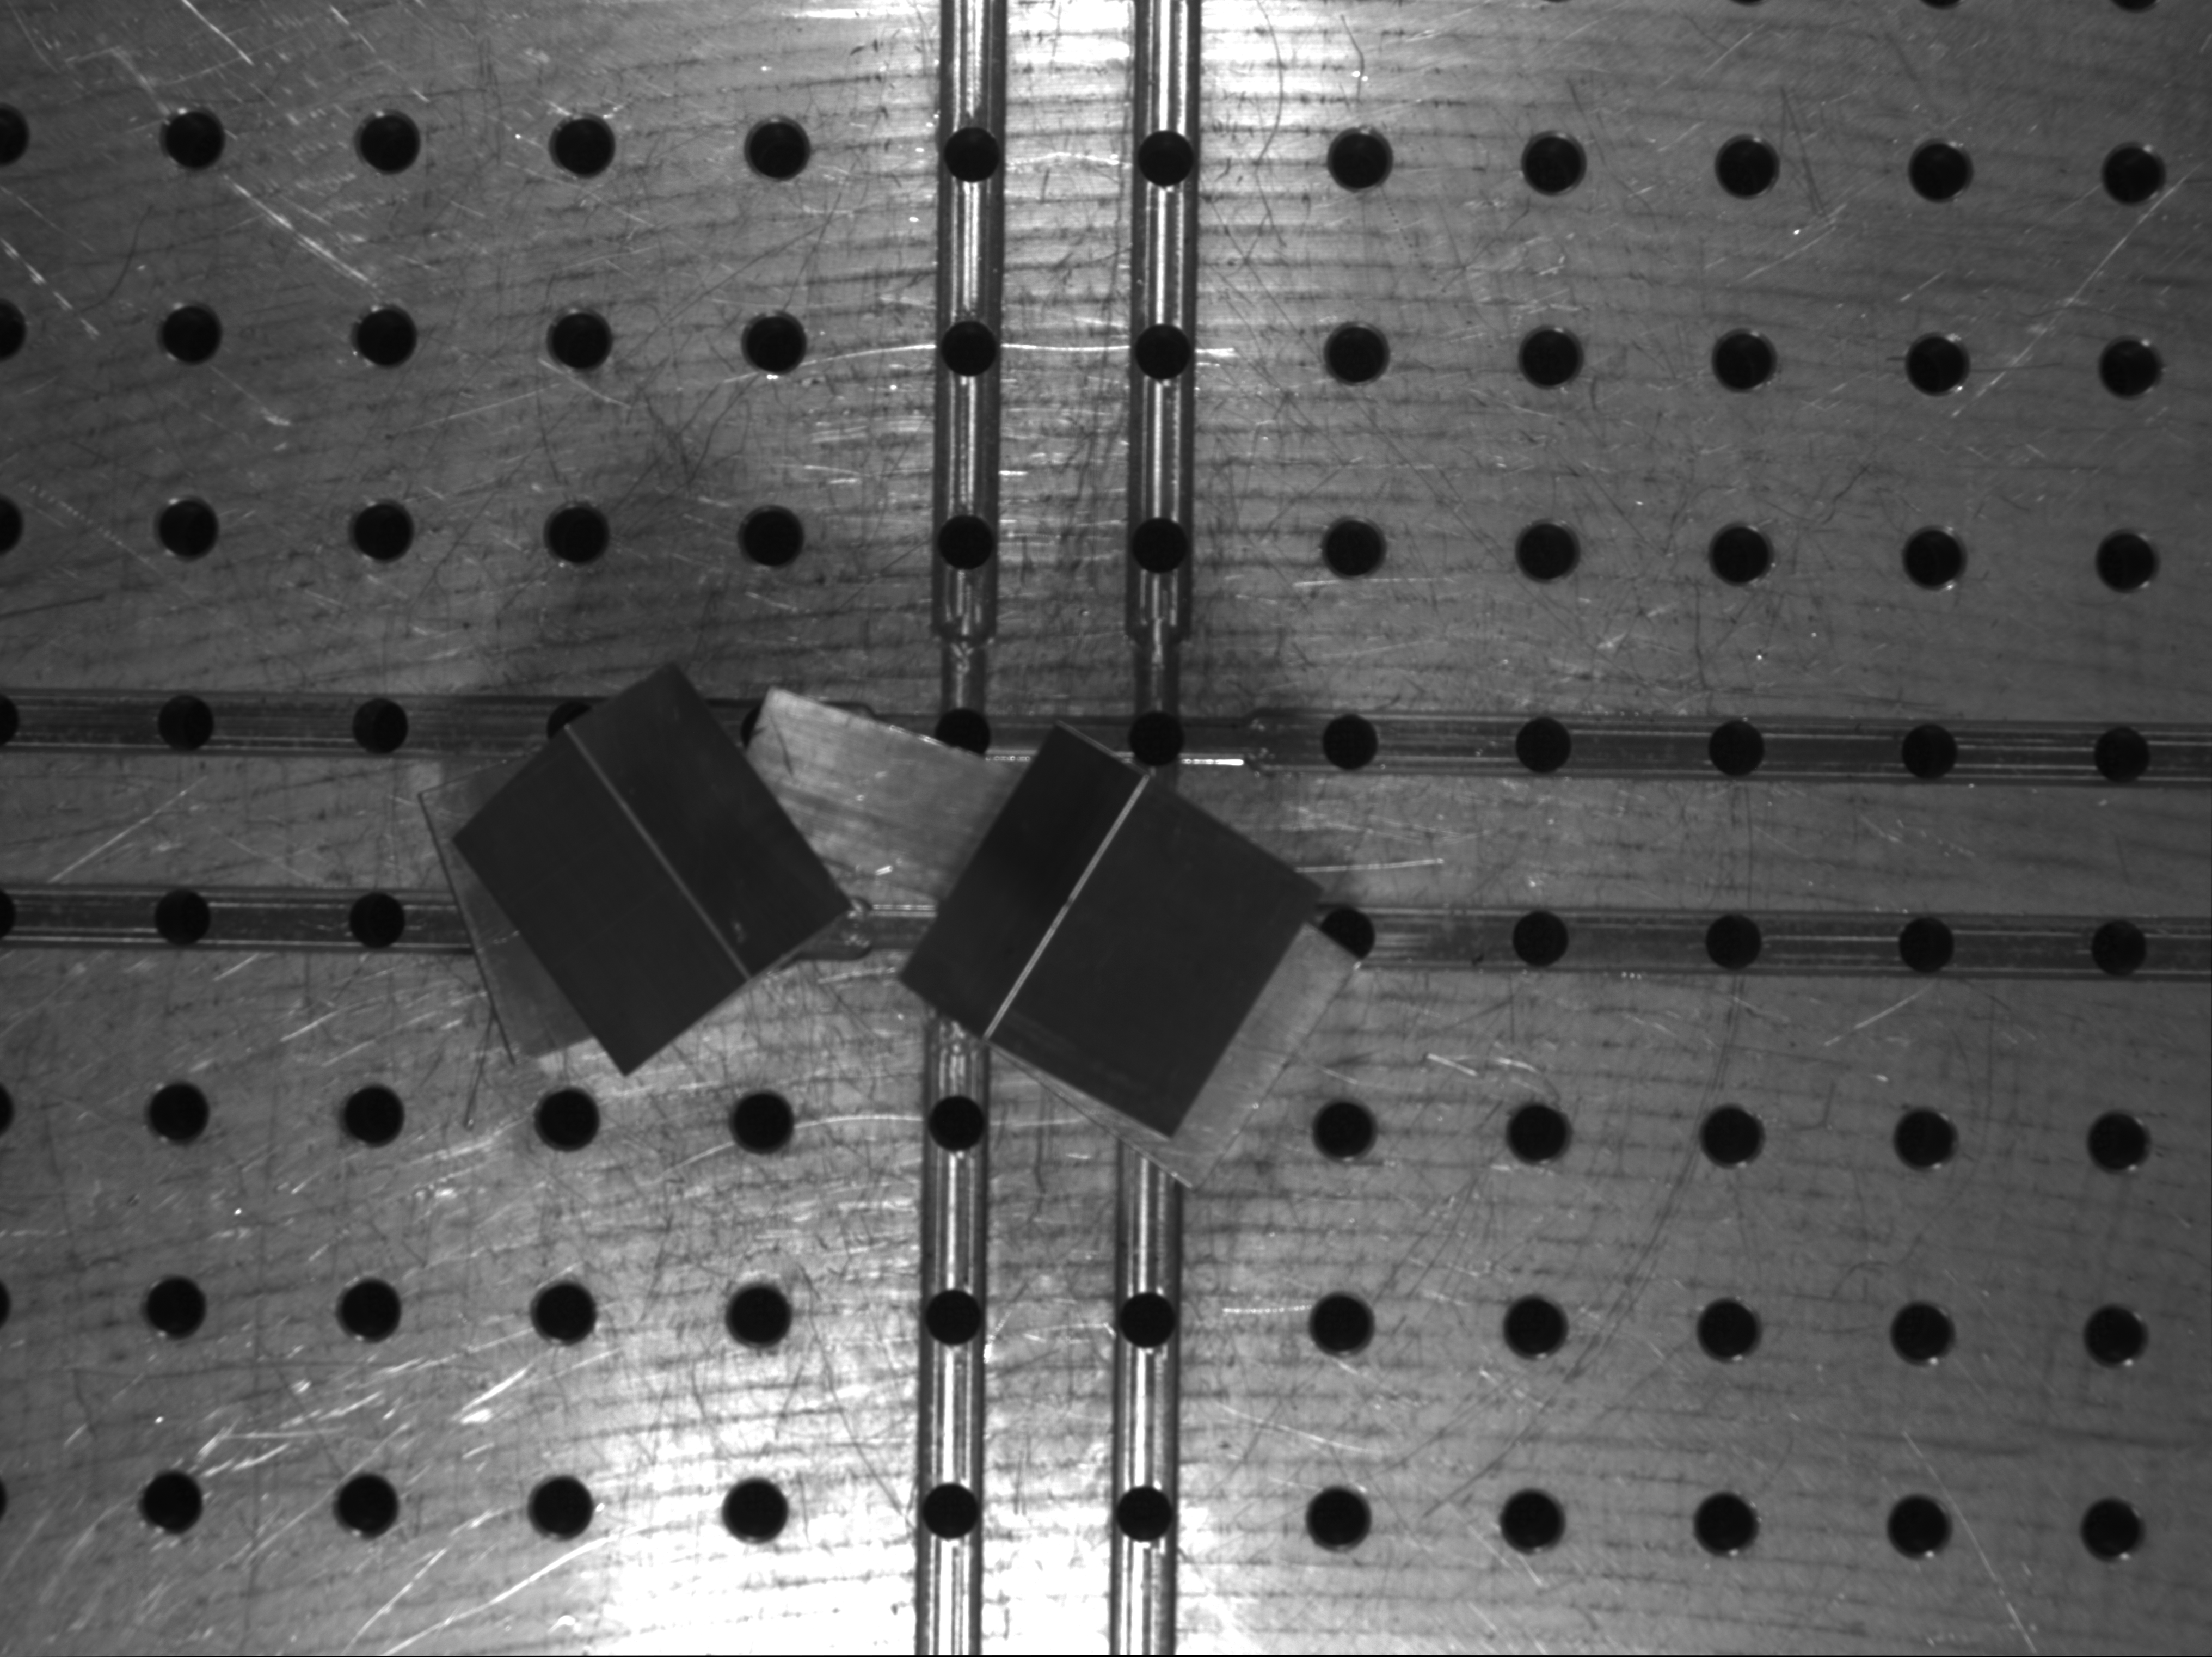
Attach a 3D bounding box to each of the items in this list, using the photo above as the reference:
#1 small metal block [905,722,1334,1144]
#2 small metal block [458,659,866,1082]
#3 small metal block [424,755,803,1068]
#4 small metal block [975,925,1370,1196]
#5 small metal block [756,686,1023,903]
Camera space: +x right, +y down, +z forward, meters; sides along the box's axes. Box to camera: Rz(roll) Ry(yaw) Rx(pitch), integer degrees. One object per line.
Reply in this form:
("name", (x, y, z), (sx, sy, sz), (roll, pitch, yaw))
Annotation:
("small metal block", (0.003, 0.018, 0.608), (0.050, 0.025, 0.050), (32, 89, -44))
("small metal block", (-0.074, 0.008, 0.606), (0.025, 0.050, 0.050), (-36, 90, -39))
("small metal block", (-0.086, 0.010, 0.647), (0.050, 0.025, 0.050), (-19, 90, 0))
("small metal block", (0.011, 0.029, 0.648), (0.050, 0.025, 0.050), (36, 90, 0))
("small metal block", (-0.035, -0.004, 0.635), (0.050, 0.050, 0.025), (19, 90, 0))
